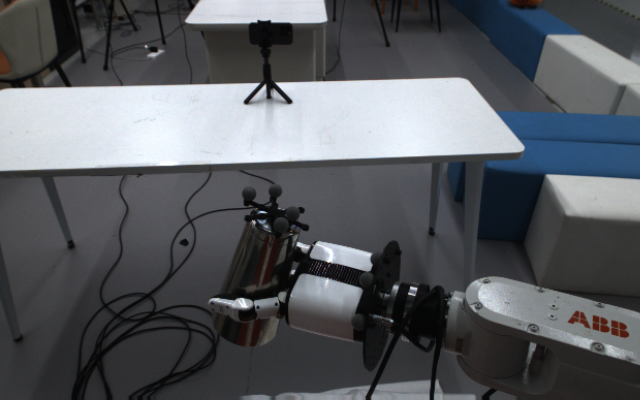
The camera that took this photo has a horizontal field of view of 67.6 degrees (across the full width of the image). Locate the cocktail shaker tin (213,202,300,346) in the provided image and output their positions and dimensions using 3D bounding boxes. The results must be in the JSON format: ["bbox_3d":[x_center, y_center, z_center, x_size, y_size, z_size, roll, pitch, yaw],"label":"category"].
[{"bbox_3d":[-0.077,0.094,0.628,0.093,0.170,0.093,14,27,-7],"label":"cocktail shaker tin"}]
